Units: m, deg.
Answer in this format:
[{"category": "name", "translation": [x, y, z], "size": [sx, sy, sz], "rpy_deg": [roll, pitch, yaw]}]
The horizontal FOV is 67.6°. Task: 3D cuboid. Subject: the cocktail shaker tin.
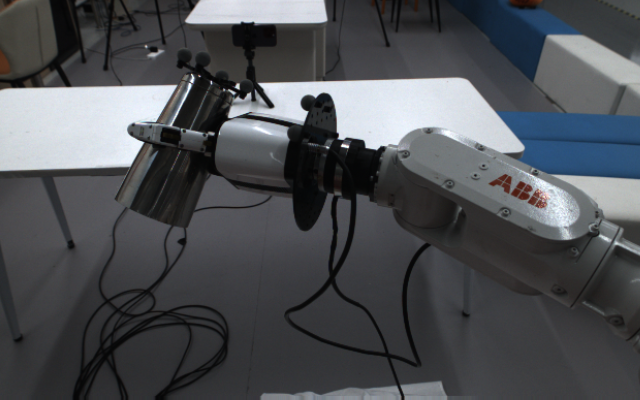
[{"category": "cocktail shaker tin", "translation": [-0.167, -0.065, 0.586], "size": [0.093, 0.170, 0.093], "rpy_deg": [23, 0, 0]}]
